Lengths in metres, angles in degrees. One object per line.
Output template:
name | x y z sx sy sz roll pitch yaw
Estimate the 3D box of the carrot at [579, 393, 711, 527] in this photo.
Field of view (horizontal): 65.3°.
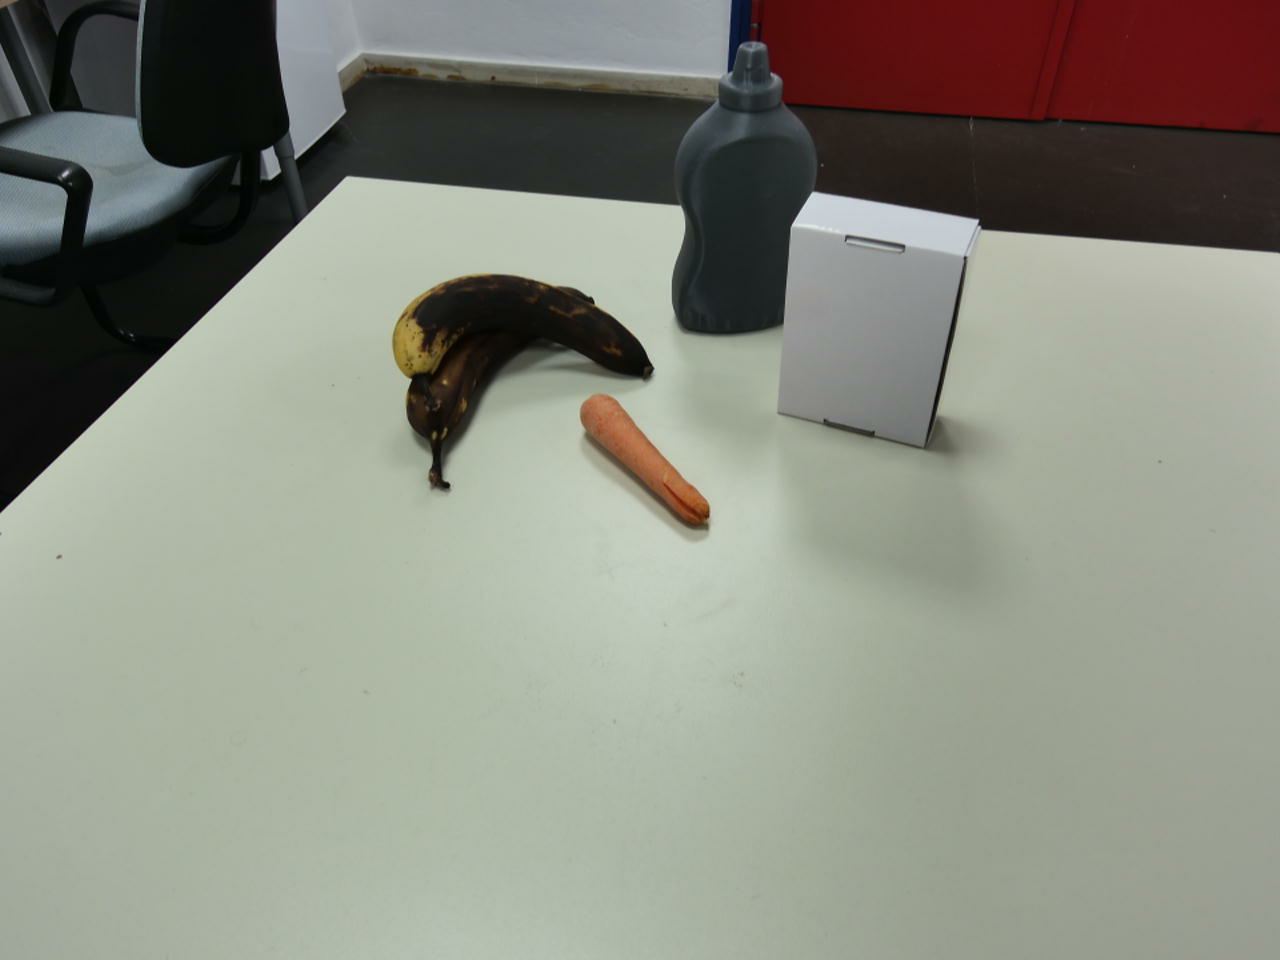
carrot | 0.001 -0.017 0.647 0.030 0.032 0.136 -22 44 -25
